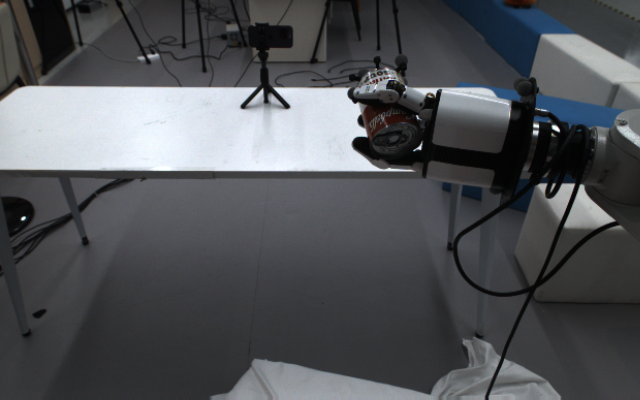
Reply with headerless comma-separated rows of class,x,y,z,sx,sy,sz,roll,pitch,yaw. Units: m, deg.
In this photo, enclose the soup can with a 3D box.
soup can,0.089,-0.114,0.632,0.067,0.067,0.101,-5,57,-10
